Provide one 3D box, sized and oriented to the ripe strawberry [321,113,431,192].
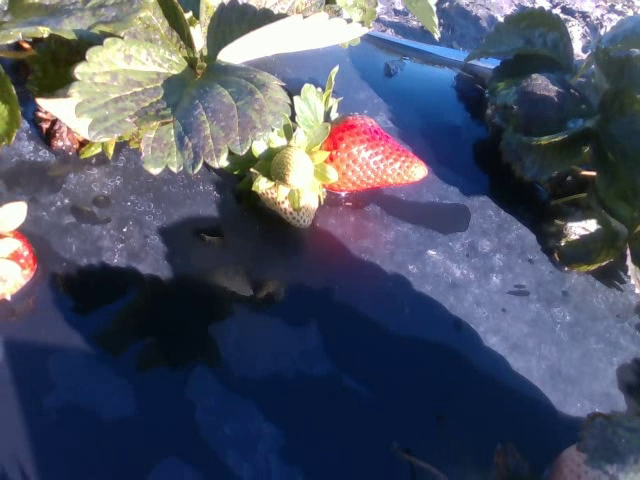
[{"bbox_3d":[0.026,-0.041,0.309,0.064,0.050,0.052,16,-8,5],"label":"ripe strawberry"}]
